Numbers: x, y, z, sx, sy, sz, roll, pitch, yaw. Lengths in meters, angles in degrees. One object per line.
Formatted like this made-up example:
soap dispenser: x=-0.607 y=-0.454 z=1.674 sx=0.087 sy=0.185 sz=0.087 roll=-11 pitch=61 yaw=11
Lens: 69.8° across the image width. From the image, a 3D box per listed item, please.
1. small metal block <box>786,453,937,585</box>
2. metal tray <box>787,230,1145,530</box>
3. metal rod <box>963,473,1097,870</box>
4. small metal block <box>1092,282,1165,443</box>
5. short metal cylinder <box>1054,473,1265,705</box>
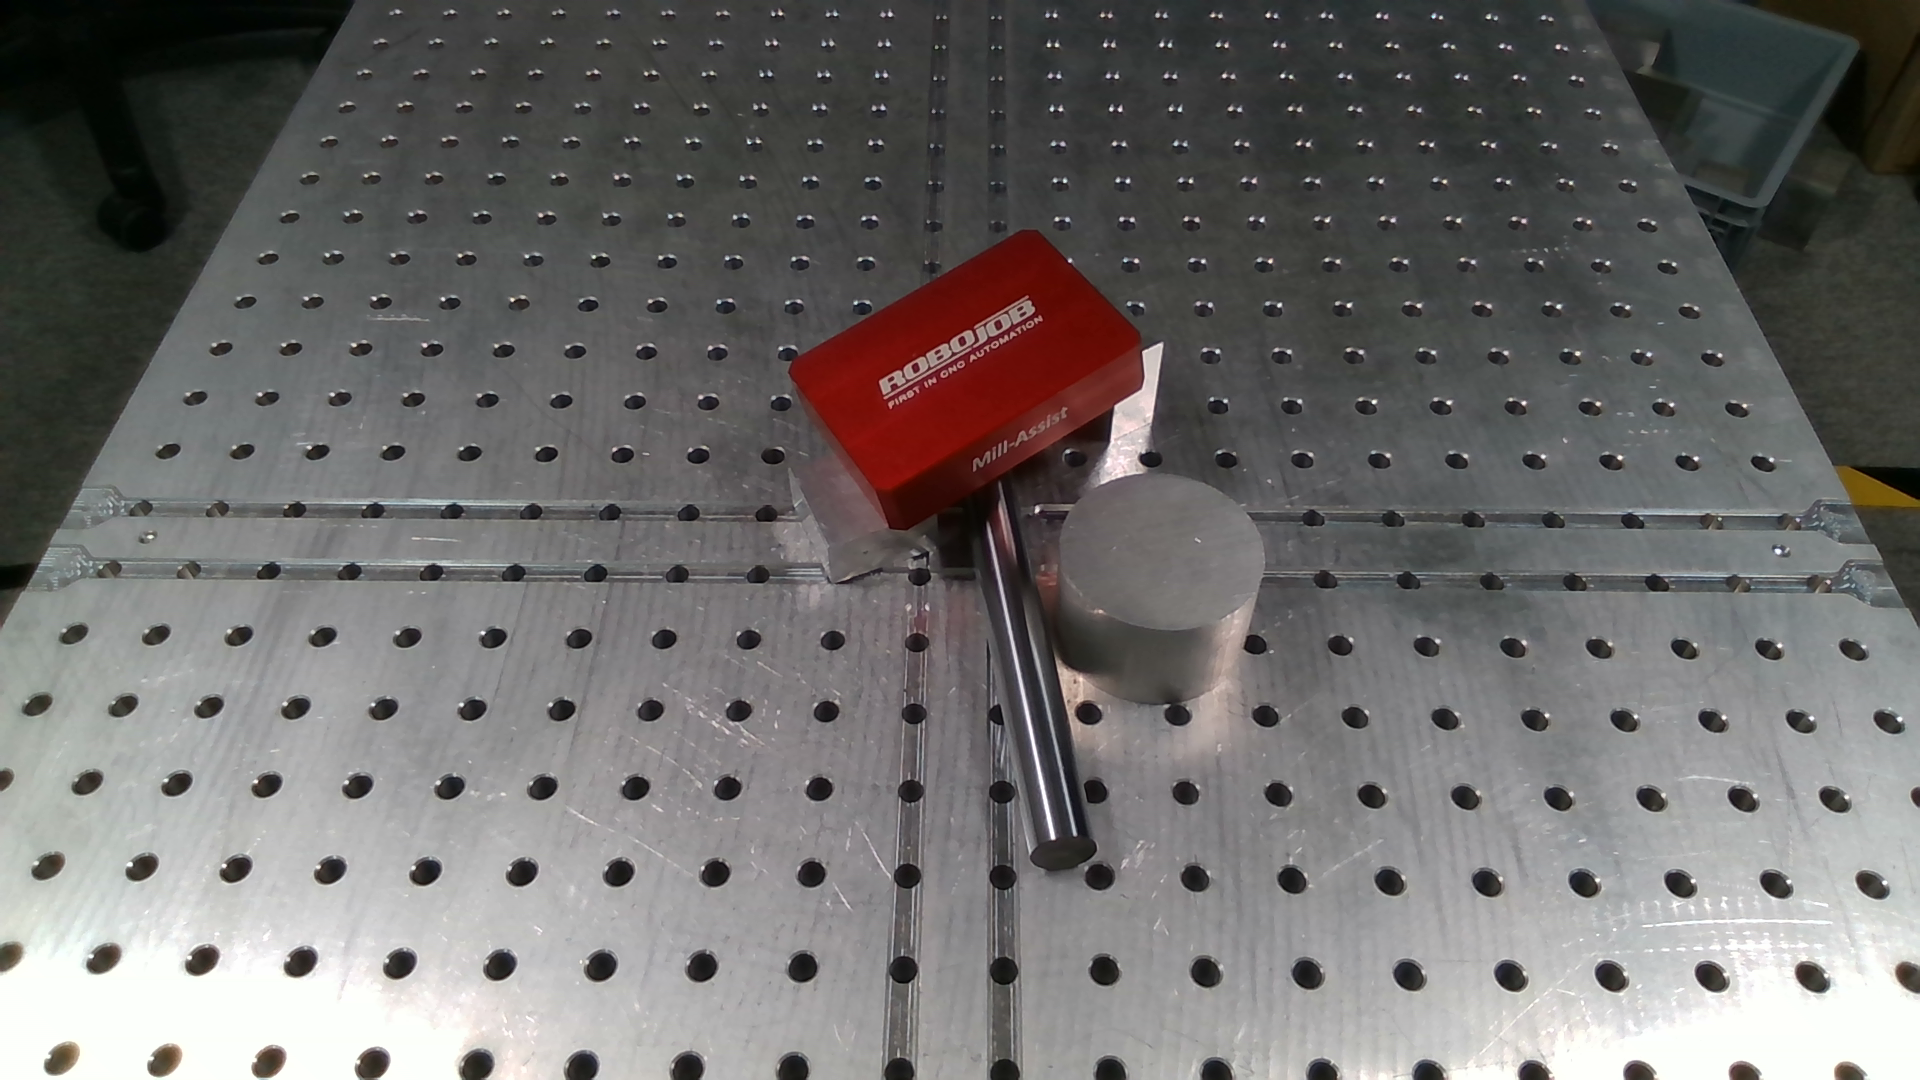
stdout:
small metal block: x=-0.043 y=-0.014 z=0.600 sx=0.050 sy=0.025 sz=0.050 roll=-19 pitch=53 yaw=-15
metal tray: x=0.003 y=-0.072 z=0.596 sx=0.130 sy=0.030 sz=0.090 roll=-31 pitch=55 yaw=-10
metal rod: x=0.016 y=0.000 z=0.591 sx=0.025 sy=0.025 sz=0.299 roll=-6 pitch=50 yaw=-5
small metal block: x=0.068 y=-0.083 z=0.642 sx=0.025 sy=0.050 sz=0.050 roll=-26 pitch=55 yaw=-20
short metal cylinder: x=0.079 y=0.019 z=0.557 sx=0.080 sy=0.050 sz=0.080 roll=0 pitch=50 yaw=0
